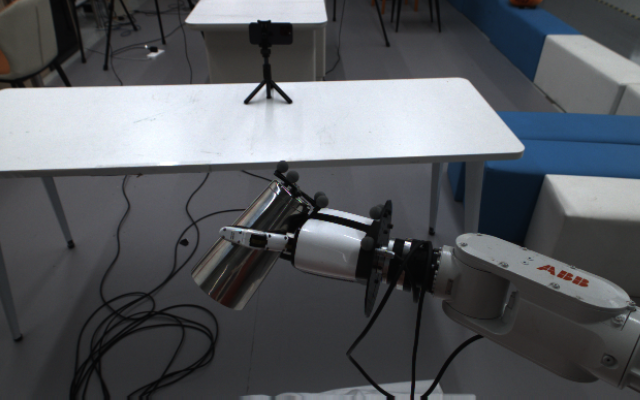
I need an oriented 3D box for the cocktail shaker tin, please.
[{"bbox_3d":[-0.089,0.054,0.675,0.170,0.093,0.093,-50,46,4],"label":"cocktail shaker tin"}]
